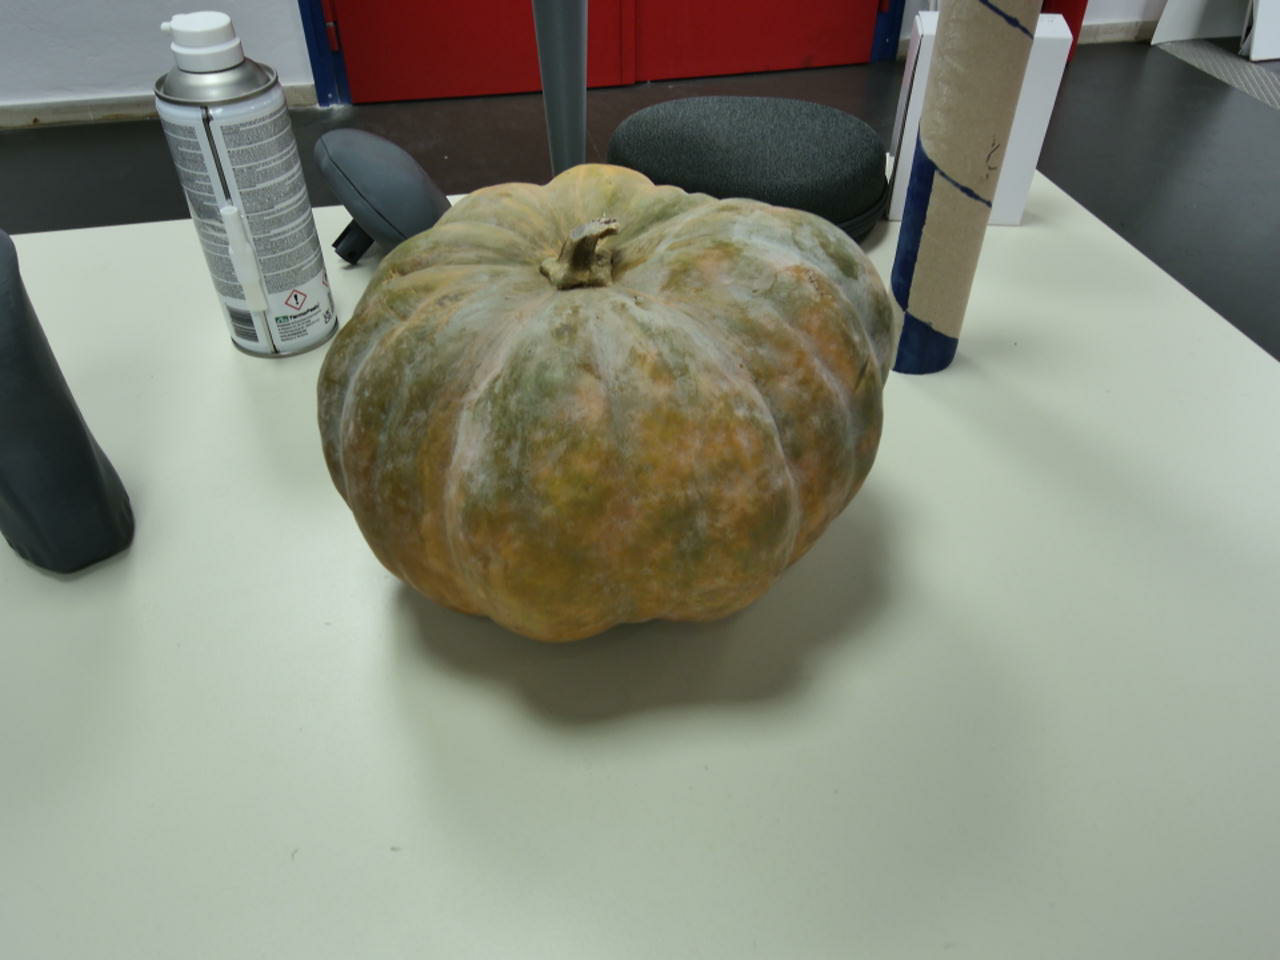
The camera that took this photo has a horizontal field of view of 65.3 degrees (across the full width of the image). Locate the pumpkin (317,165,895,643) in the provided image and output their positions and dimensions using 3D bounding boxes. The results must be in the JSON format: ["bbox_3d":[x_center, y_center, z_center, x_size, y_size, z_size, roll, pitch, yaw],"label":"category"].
[{"bbox_3d":[-0.019,-0.040,0.453,0.252,0.169,0.251,0,39,0],"label":"pumpkin"}]
